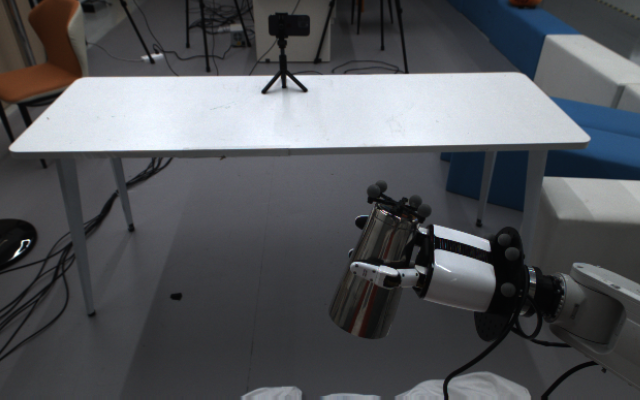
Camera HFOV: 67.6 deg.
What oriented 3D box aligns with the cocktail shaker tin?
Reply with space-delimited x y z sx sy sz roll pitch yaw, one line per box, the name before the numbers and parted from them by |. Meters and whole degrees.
cocktail shaker tin | 0.079 0.091 0.664 0.093 0.170 0.093 15 17 -5
